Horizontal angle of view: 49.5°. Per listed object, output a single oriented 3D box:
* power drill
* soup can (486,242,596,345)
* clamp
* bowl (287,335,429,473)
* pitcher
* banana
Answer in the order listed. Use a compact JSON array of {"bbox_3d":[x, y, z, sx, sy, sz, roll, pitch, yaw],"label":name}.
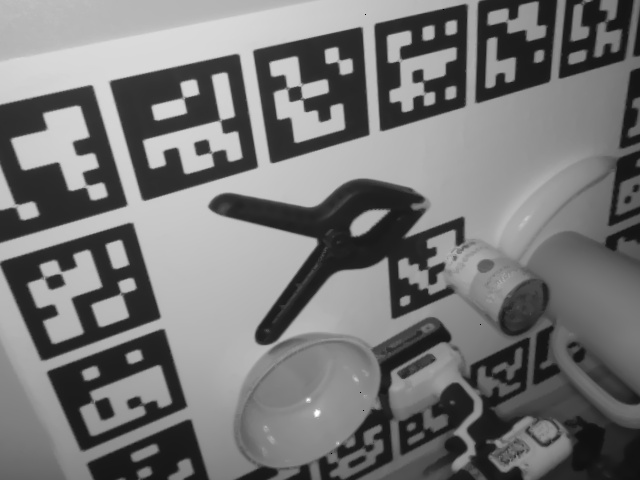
[{"bbox_3d":[0.172,0.203,0.710,0.186,0.186,0.057,-24,123,-15],"label":"power drill"},{"bbox_3d":[0.237,0.055,0.751,0.069,0.101,0.067,-17,129,-21],"label":"soup can"},{"bbox_3d":[0.058,0.000,0.657,0.205,0.036,0.164,-23,118,-18],"label":"clamp"},{"bbox_3d":[0.030,0.156,0.713,0.164,0.055,0.160,-12,117,-24],"label":"bowl"},{"bbox_3d":[0.384,0.096,0.764,0.189,0.241,0.133,-41,129,-5],"label":"pitcher"},{"bbox_3d":[0.326,-0.042,0.794,0.198,0.038,0.074,-41,134,-3],"label":"banana"}]
